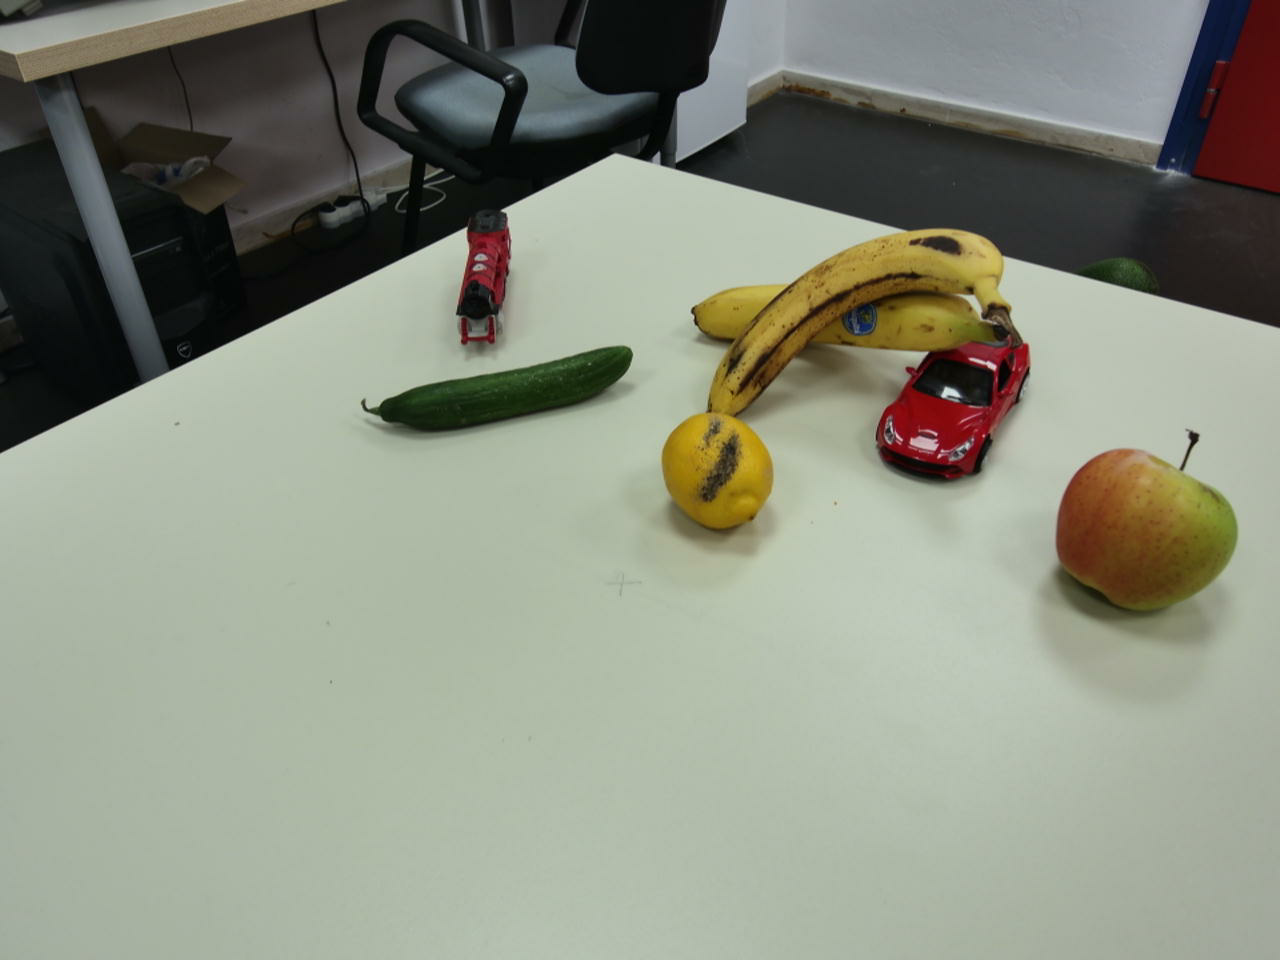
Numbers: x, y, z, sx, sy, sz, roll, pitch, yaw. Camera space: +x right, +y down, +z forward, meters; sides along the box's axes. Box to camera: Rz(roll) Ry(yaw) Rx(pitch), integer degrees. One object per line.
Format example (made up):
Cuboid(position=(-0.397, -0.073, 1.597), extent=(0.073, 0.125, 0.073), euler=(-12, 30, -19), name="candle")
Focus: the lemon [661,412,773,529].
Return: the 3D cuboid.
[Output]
Cuboid(position=(0.041, -0.005, 0.525), extent=(0.061, 0.056, 0.058), euler=(19, 41, 24), name="lemon")
